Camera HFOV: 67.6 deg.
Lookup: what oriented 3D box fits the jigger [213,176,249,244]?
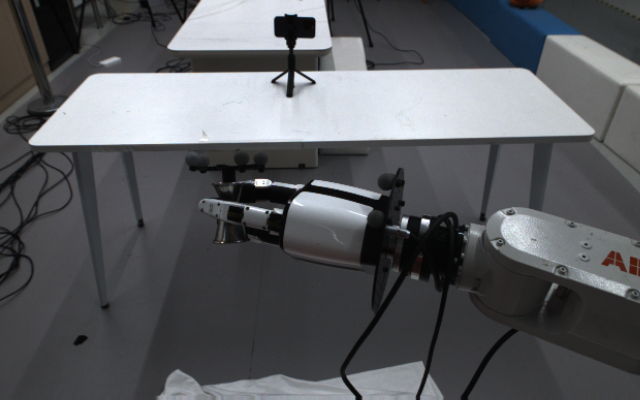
[{"bbox_3d":[-0.104,0.014,0.559,0.043,0.071,0.043,-2,3,0],"label":"jigger"}]
